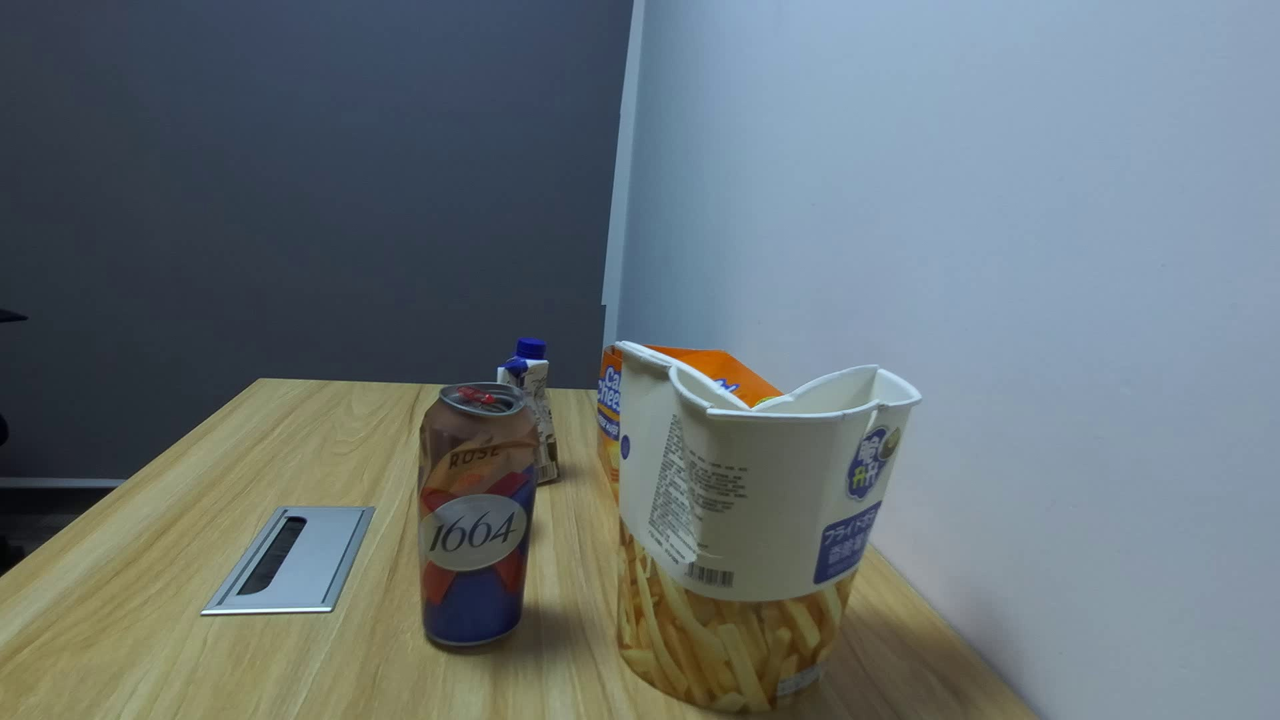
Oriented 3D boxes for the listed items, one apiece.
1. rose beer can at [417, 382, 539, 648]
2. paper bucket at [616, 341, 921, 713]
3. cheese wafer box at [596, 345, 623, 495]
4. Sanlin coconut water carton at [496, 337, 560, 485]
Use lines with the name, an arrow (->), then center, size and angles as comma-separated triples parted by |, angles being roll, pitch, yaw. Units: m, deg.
rose beer can -> -0.107, 0.102, 0.461 | 0.076, 0.167, 0.065 | 2, 16, -23
paper bucket -> 0.075, 0.099, 0.469 | 0.163, 0.202, 0.168 | 1, 17, -21
cheese wafer box -> 0.049, 0.075, 0.727 | 0.153, 0.132, 0.229 | 1, 17, -16
Sanlin coconut water carton -> -0.122, 0.053, 0.714 | 0.069, 0.144, 0.056 | -16, 15, -39
